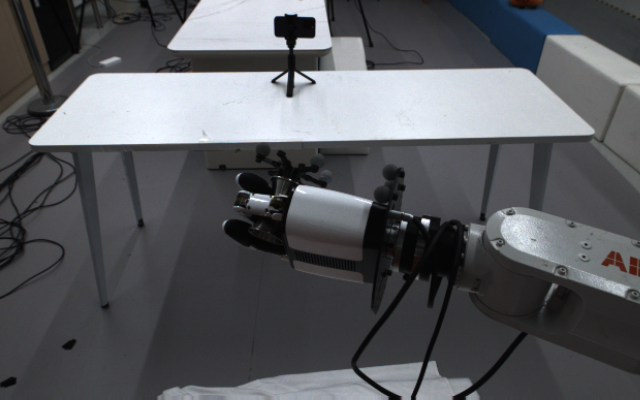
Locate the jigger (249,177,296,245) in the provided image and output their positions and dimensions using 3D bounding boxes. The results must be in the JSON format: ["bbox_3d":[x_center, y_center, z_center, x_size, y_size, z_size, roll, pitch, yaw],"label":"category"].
[{"bbox_3d":[-0.046,0.012,0.552,0.043,0.043,0.071,13,70,16],"label":"jigger"}]
